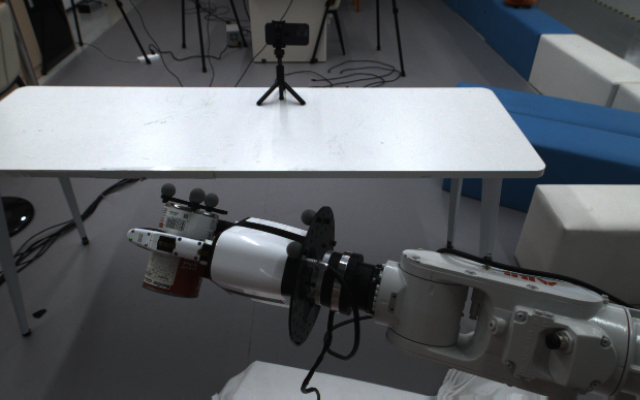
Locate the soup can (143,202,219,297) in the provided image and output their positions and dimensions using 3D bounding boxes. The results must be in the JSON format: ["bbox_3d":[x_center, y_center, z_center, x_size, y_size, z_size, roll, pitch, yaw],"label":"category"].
[{"bbox_3d":[-0.165,0.061,0.580,0.067,0.101,0.067,13,-6,1],"label":"soup can"}]
